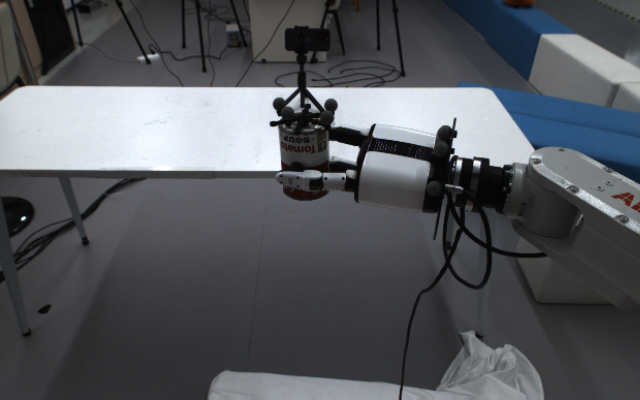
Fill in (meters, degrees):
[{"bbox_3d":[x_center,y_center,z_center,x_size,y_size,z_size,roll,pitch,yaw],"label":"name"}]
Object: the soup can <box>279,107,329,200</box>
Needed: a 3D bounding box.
[{"bbox_3d":[-0.019,-0.060,0.657,0.067,0.101,0.067,-2,34,1],"label":"soup can"}]
